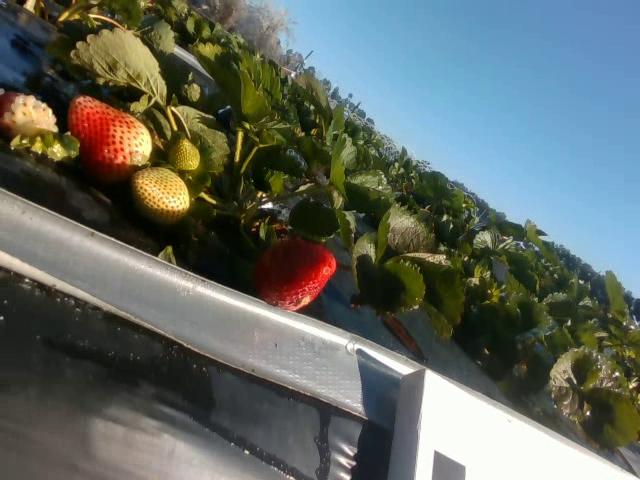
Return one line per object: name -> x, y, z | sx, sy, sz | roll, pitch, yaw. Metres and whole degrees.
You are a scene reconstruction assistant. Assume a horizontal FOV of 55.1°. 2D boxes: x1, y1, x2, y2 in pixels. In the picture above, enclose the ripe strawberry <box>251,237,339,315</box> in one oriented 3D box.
ripe strawberry -> -0.009, 0.013, 0.247 | 0.036, 0.038, 0.045 | 29, -25, -22
